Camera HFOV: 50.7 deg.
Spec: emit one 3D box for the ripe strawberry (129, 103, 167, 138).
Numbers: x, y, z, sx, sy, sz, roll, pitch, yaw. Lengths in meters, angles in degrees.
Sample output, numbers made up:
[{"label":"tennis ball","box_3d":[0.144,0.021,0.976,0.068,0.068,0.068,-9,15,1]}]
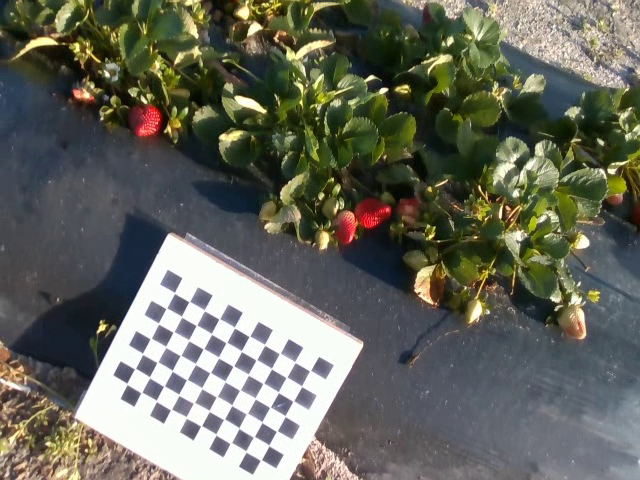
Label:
[{"label":"ripe strawberry","box_3d":[-0.241,-0.151,0.904,0.052,0.041,0.052,-2,36,1]}]
